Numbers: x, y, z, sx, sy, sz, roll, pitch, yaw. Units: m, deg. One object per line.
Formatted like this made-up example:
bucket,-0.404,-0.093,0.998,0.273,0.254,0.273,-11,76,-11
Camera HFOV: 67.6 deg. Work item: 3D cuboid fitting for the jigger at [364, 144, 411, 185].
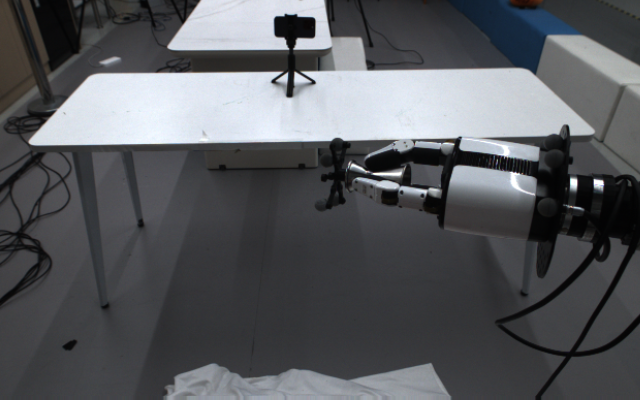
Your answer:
jigger,0.073,-0.027,0.563,0.071,0.043,0.043,8,34,23
